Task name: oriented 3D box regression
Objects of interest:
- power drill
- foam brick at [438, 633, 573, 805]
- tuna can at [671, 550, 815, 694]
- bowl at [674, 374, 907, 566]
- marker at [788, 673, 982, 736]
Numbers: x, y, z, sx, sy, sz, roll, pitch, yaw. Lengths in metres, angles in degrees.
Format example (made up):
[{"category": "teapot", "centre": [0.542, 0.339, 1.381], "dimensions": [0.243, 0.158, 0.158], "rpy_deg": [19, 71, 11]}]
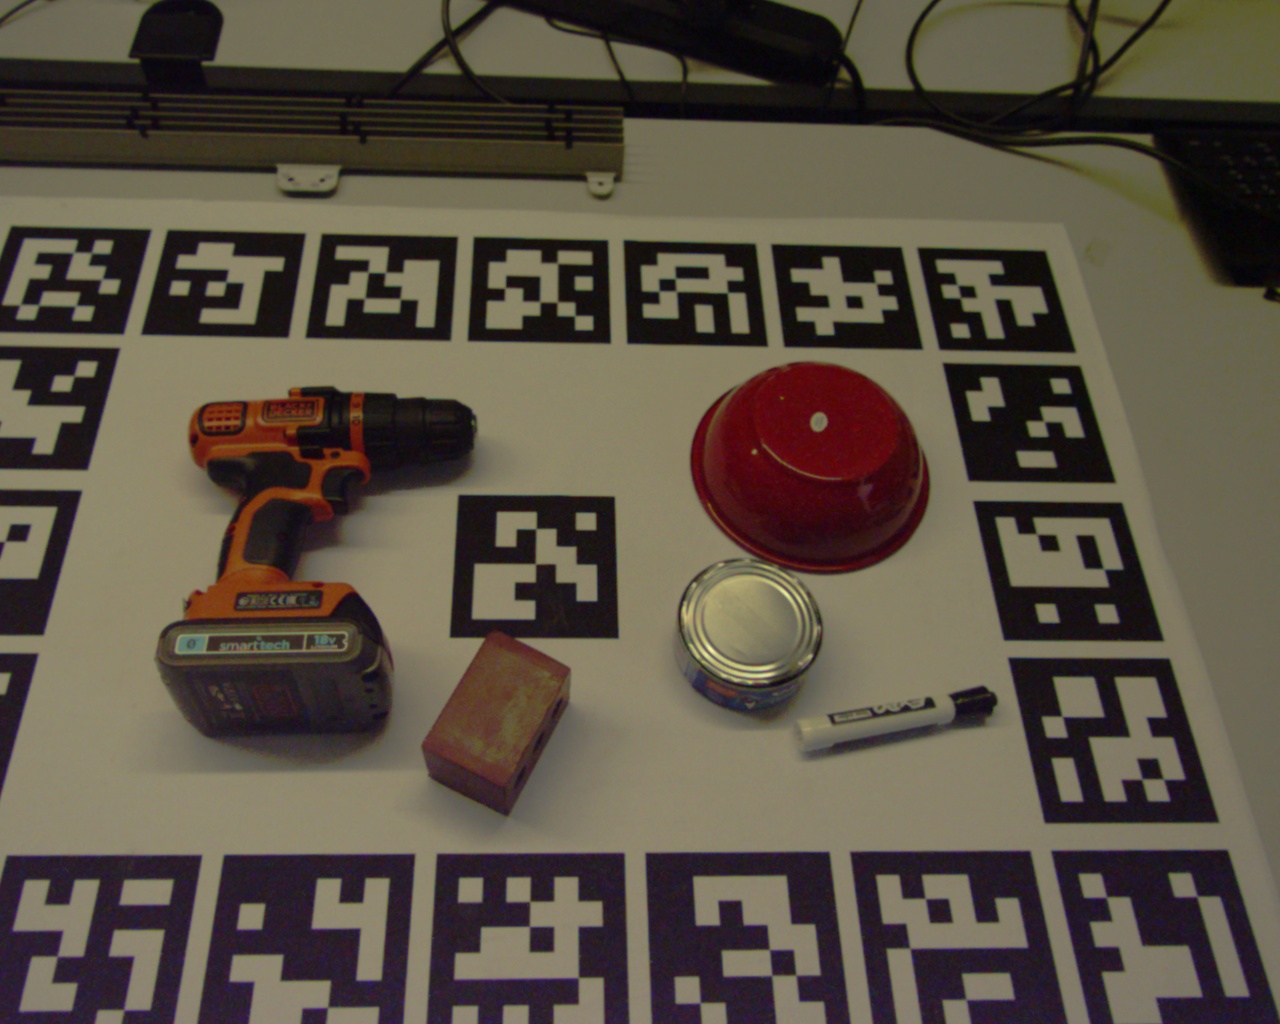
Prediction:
[{"category": "power drill", "centre": [-0.198, 0.022, 0.709], "dimensions": [0.184, 0.057, 0.188], "rpy_deg": [0, 56, -8]}, {"category": "foam brick", "centre": [-0.078, 0.121, 0.663], "dimensions": [0.051, 0.052, 0.078], "rpy_deg": [21, 61, 7]}, {"category": "tuna can", "centre": [0.063, 0.069, 0.707], "dimensions": [0.085, 0.034, 0.086], "rpy_deg": [3, 58, -5]}, {"category": "bowl", "centre": [0.105, -0.043, 0.778], "dimensions": [0.161, 0.055, 0.162], "rpy_deg": [0, 52, -1]}, {"category": "marker", "centre": [0.150, 0.116, 0.691], "dimensions": [0.120, 0.019, 0.020], "rpy_deg": [-9, 61, -10]}]
